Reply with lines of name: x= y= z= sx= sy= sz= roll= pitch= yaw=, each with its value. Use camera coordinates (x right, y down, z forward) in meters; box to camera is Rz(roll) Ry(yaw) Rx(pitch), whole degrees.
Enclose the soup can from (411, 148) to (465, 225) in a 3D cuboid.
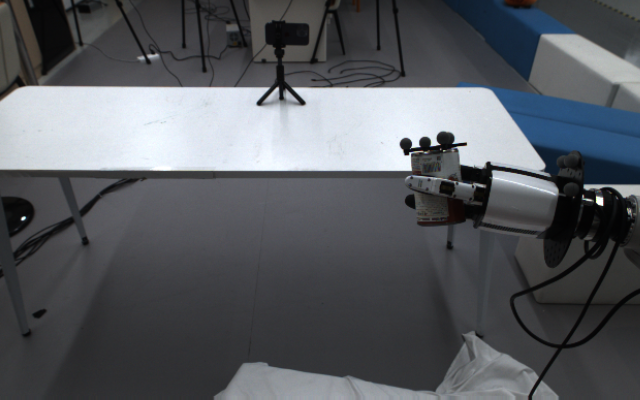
soup can: x=0.167 y=-0.018 z=0.681 sx=0.067 sy=0.101 sz=0.067 roll=-6 pitch=3 yaw=0
